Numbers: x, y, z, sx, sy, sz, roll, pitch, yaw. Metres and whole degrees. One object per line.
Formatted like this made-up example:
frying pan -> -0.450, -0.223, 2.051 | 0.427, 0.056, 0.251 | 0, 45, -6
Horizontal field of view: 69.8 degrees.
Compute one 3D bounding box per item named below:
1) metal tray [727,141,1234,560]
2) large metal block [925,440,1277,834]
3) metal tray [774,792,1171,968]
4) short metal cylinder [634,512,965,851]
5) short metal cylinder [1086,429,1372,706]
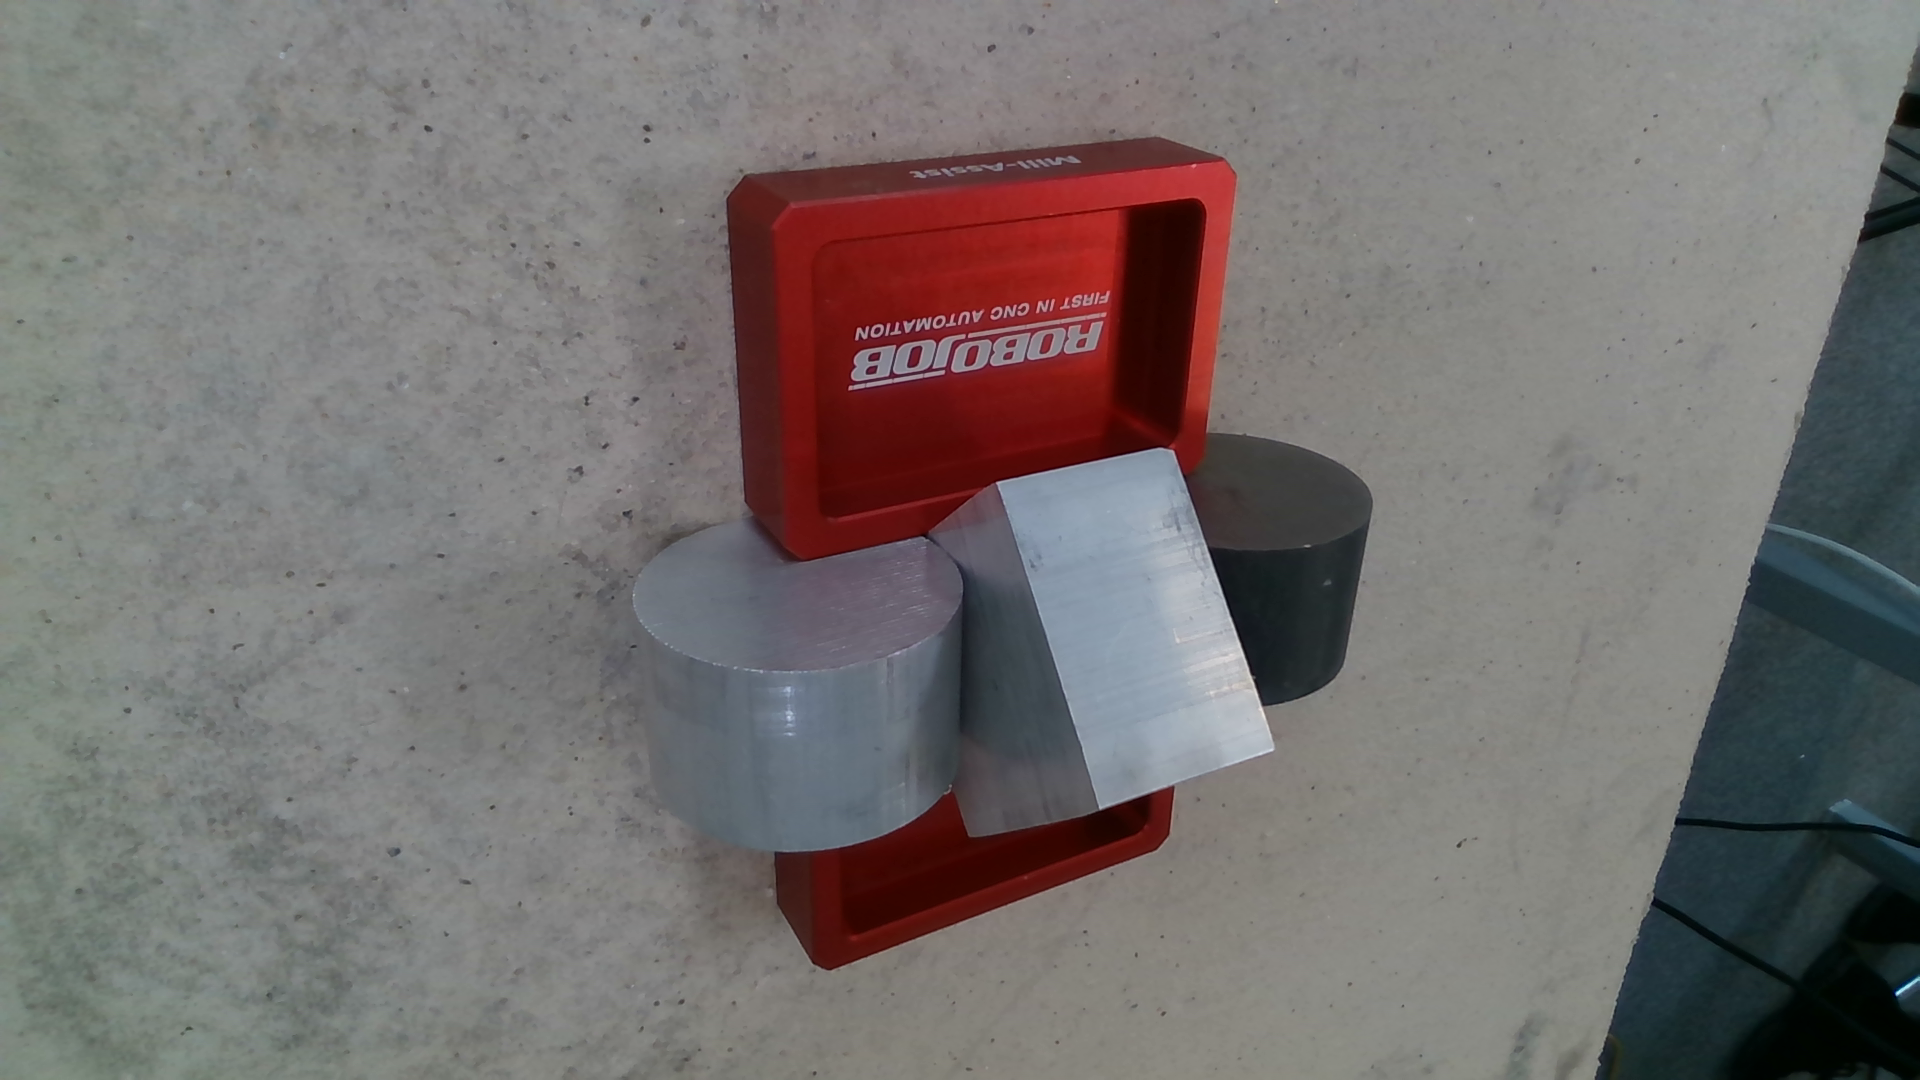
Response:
metal tray -> 0.007, -0.052, 0.363 | 0.130, 0.030, 0.090 | -13, 121, -26
large metal block -> 0.028, 0.028, 0.360 | 0.050, 0.080, 0.080 | -13, 81, -25
metal tray -> 0.007, 0.071, 0.430 | 0.130, 0.030, 0.090 | -13, 121, -26
short metal cylinder -> -0.039, 0.033, 0.348 | 0.080, 0.080, 0.050 | -12, 121, -26
short metal cylinder -> 0.076, 0.006, 0.404 | 0.080, 0.080, 0.050 | -12, 121, -26
